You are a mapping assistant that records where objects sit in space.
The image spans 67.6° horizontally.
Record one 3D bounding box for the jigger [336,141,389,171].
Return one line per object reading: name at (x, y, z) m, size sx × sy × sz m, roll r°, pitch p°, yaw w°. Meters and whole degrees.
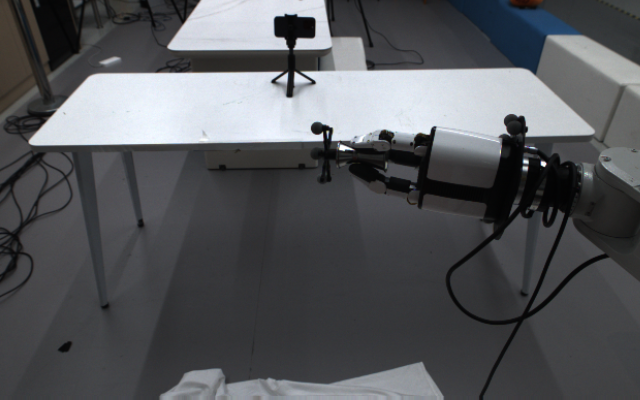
jigger at (0.066, -0.066, 0.674) m, size 0.071 × 0.043 × 0.043 m, roll 3°, pitch 34°, yaw 13°
